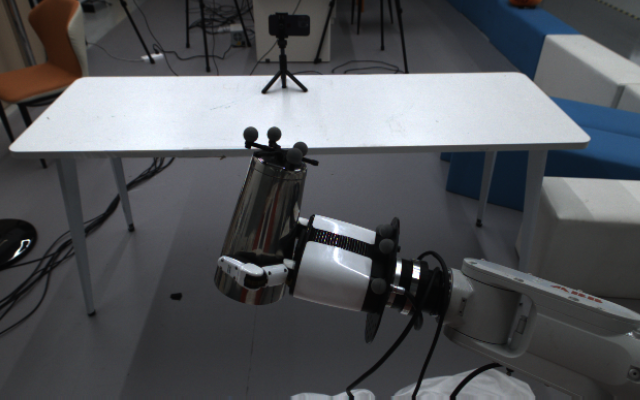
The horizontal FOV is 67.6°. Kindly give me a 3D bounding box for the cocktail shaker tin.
[{"bbox_3d":[-0.067,0.030,0.589,0.093,0.170,0.093,14,20,-5],"label":"cocktail shaker tin"}]
